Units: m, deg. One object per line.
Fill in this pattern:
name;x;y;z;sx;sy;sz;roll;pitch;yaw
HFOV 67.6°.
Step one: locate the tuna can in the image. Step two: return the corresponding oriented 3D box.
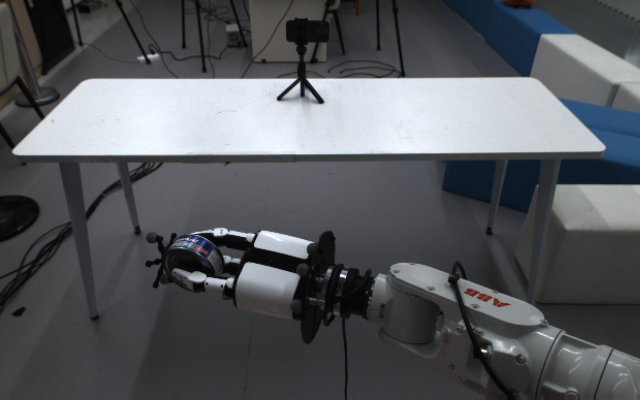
tuna can;-0.184;0.097;0.710;0.085;0.085;0.034;9;35;10
